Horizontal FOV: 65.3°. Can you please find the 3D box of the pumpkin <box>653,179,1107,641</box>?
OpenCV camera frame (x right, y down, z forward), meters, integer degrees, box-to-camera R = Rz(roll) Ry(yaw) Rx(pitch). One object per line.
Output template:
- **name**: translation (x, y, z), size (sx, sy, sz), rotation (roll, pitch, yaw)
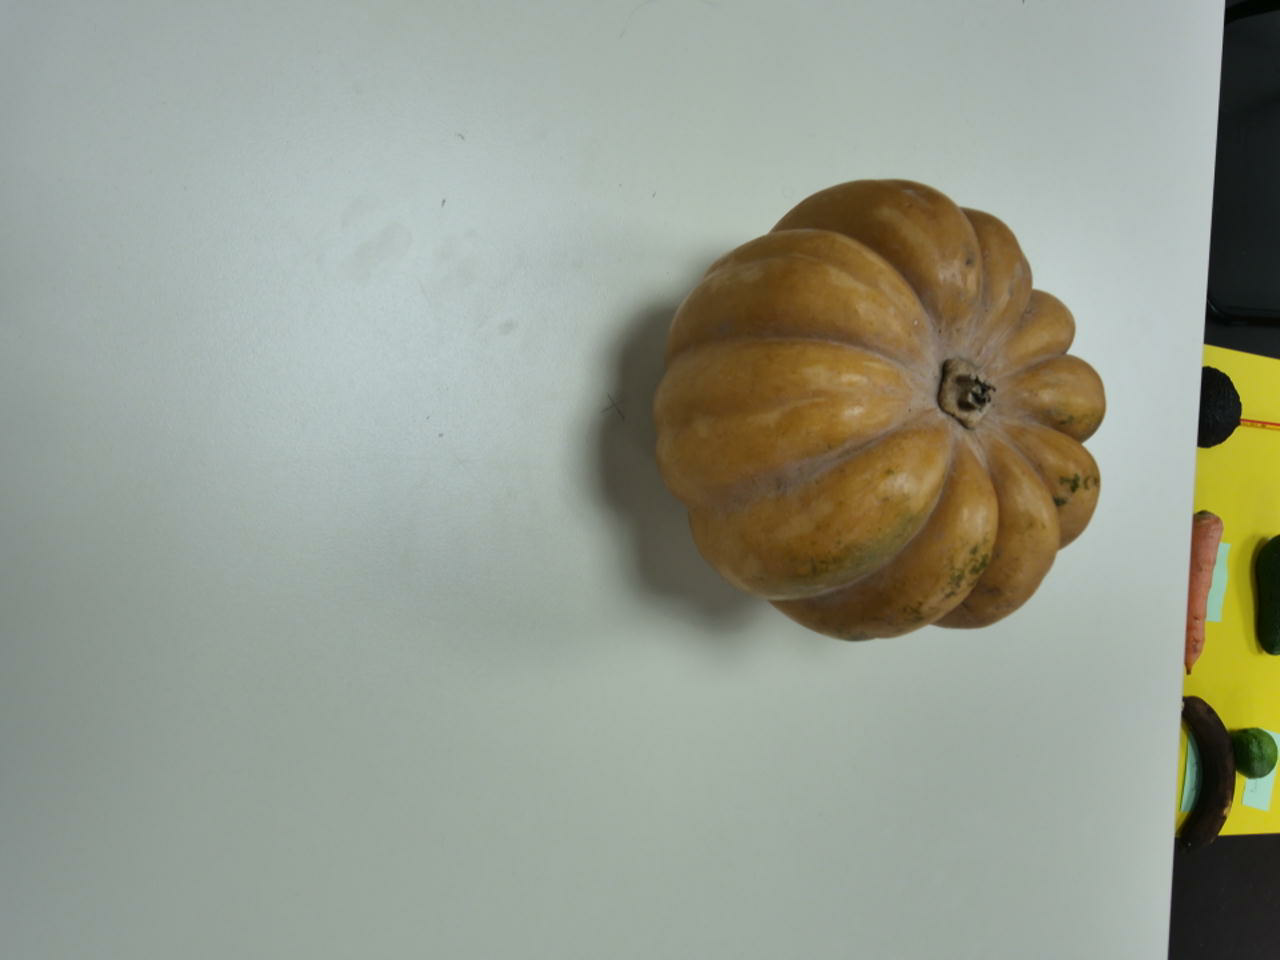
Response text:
- **pumpkin**: translation (0.115, -0.029, 0.509), size (0.230, 0.194, 0.230), rotation (0, 91, -22)
